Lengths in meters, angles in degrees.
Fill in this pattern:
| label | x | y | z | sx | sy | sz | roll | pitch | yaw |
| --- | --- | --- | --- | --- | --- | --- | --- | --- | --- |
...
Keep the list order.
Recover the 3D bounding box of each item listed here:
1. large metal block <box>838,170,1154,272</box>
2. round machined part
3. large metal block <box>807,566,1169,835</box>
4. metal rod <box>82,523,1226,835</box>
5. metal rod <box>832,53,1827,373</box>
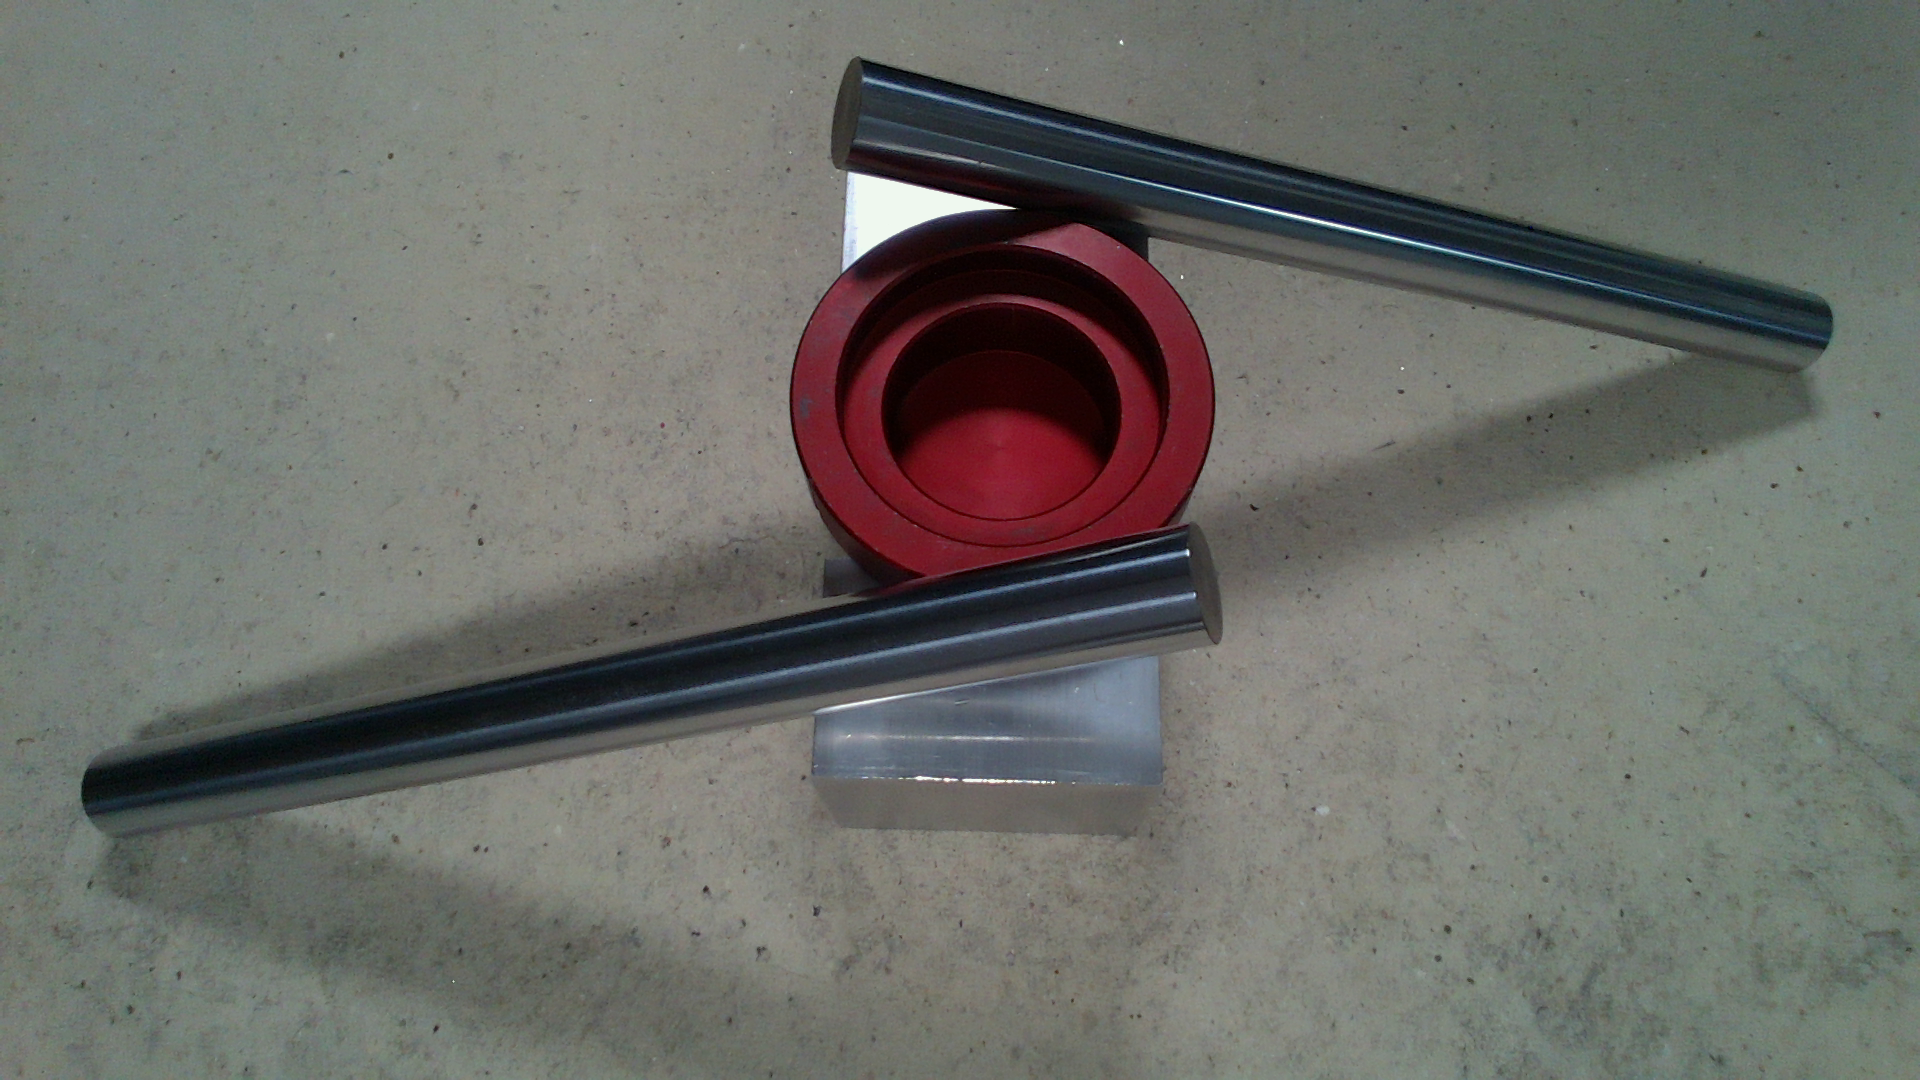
| label | x | y | z | sx | sy | sz | roll | pitch | yaw |
| --- | --- | --- | --- | --- | --- | --- | --- | --- | --- |
| large metal block | 0.010 | -0.070 | 0.391 | 0.080 | 0.080 | 0.050 | 1 | 70 | 0 |
| round machined part | 0.010 | -0.027 | 0.333 | 0.098 | 0.042 | 0.098 | 0 | 70 | 0 |
| large metal block | 0.007 | 0.044 | 0.349 | 0.080 | 0.080 | 0.050 | 1 | 70 | 0 |
| metal rod | -0.088 | 0.038 | 0.322 | 0.299 | 0.025 | 0.025 | -12 | 69 | 20 |
| metal rod | 0.114 | -0.081 | 0.367 | 0.301 | 0.025 | 0.025 | 7 | 69 | -21 |
